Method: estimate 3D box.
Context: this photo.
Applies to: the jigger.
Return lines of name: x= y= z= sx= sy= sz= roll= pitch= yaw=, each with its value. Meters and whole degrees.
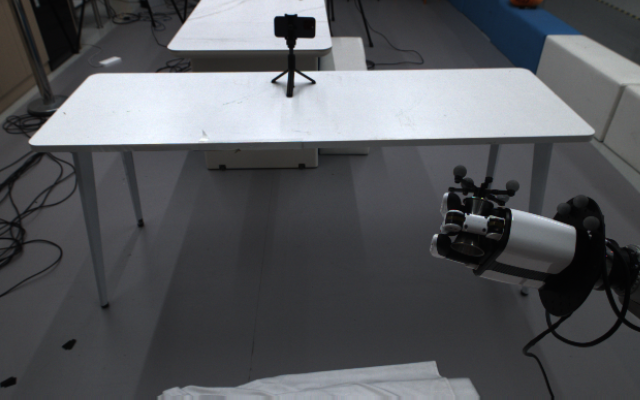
jigger: x=0.203 y=0.034 z=0.640 sx=0.043 sy=0.043 sz=0.071 roll=13 pitch=73 yaw=15
